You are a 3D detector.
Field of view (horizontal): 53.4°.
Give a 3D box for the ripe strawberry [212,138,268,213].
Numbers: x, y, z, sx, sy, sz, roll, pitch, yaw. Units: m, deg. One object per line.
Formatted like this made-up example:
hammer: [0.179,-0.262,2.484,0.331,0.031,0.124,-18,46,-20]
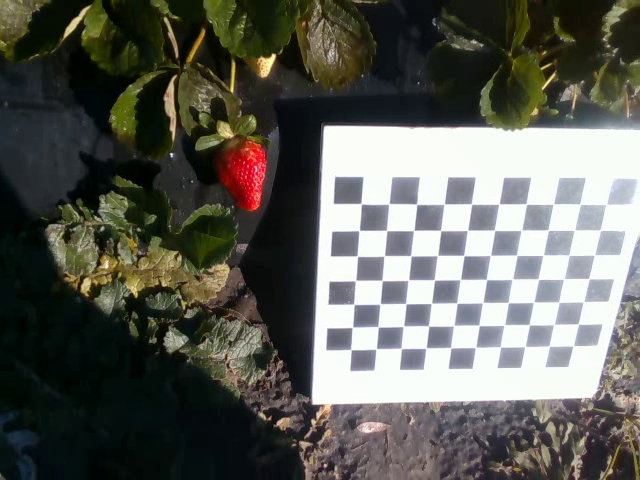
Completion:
ripe strawberry: [-0.062,-0.052,0.510,0.048,0.069,0.040,-16,16,2]
